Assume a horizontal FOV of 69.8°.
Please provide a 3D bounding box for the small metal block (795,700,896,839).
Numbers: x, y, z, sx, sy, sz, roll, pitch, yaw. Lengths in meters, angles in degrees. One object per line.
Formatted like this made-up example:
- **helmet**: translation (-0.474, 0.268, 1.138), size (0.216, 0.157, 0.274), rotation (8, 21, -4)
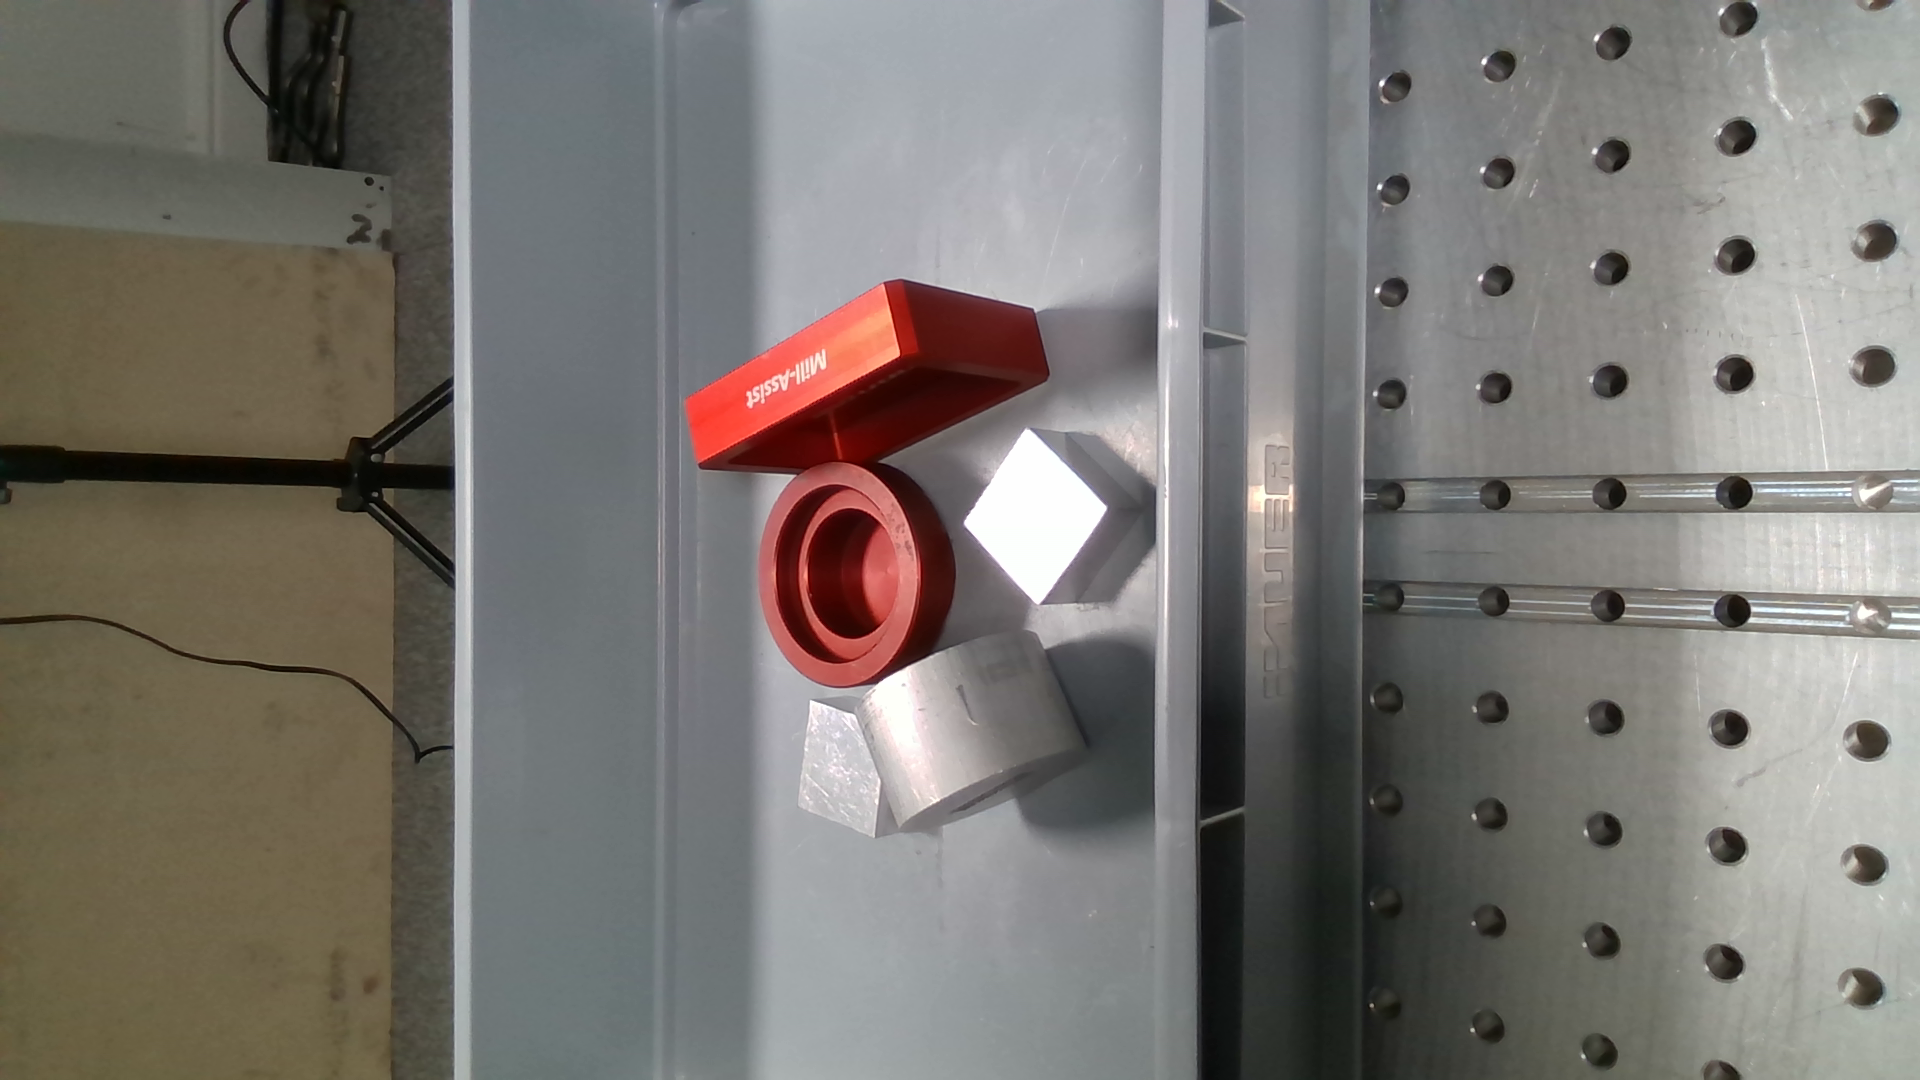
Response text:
- **small metal block**: translation (-0.045, 0.101, 0.619), size (0.050, 0.025, 0.050), rotation (12, 97, 39)

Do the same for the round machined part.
- **round machined part**: translation (-0.041, 0.014, 0.603), size (0.098, 0.042, 0.098), rotation (0, 91, 40)

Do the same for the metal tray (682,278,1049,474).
- **metal tray**: translation (-0.040, -0.063, 0.571), size (0.130, 0.090, 0.030), rotation (-22, 76, 38)

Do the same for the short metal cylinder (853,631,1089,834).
- **short metal cylinder**: translation (0.004, 0.076, 0.542), size (0.080, 0.080, 0.050), rotation (-36, 68, 35)

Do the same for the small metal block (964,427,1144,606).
- **small metal block**: translation (0.037, -0.009, 0.549), size (0.050, 0.025, 0.050), rotation (48, 118, 30)
